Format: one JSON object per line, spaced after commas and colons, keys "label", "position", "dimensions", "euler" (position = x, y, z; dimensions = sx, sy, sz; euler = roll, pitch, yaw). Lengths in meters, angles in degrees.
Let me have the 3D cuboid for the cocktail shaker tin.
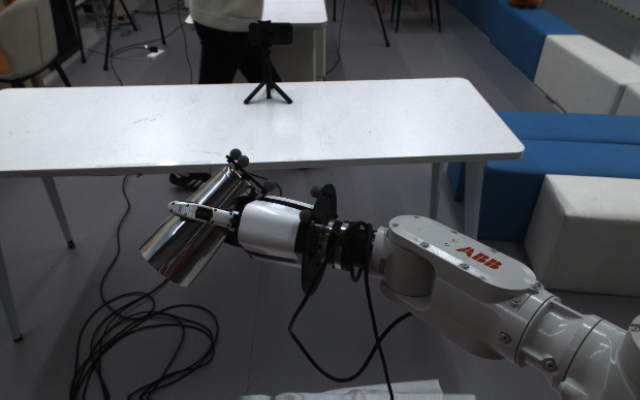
{"label": "cocktail shaker tin", "position": [-0.168, 0.030, 0.706], "dimensions": [0.170, 0.093, 0.093], "euler": [-48, 49, -3]}
